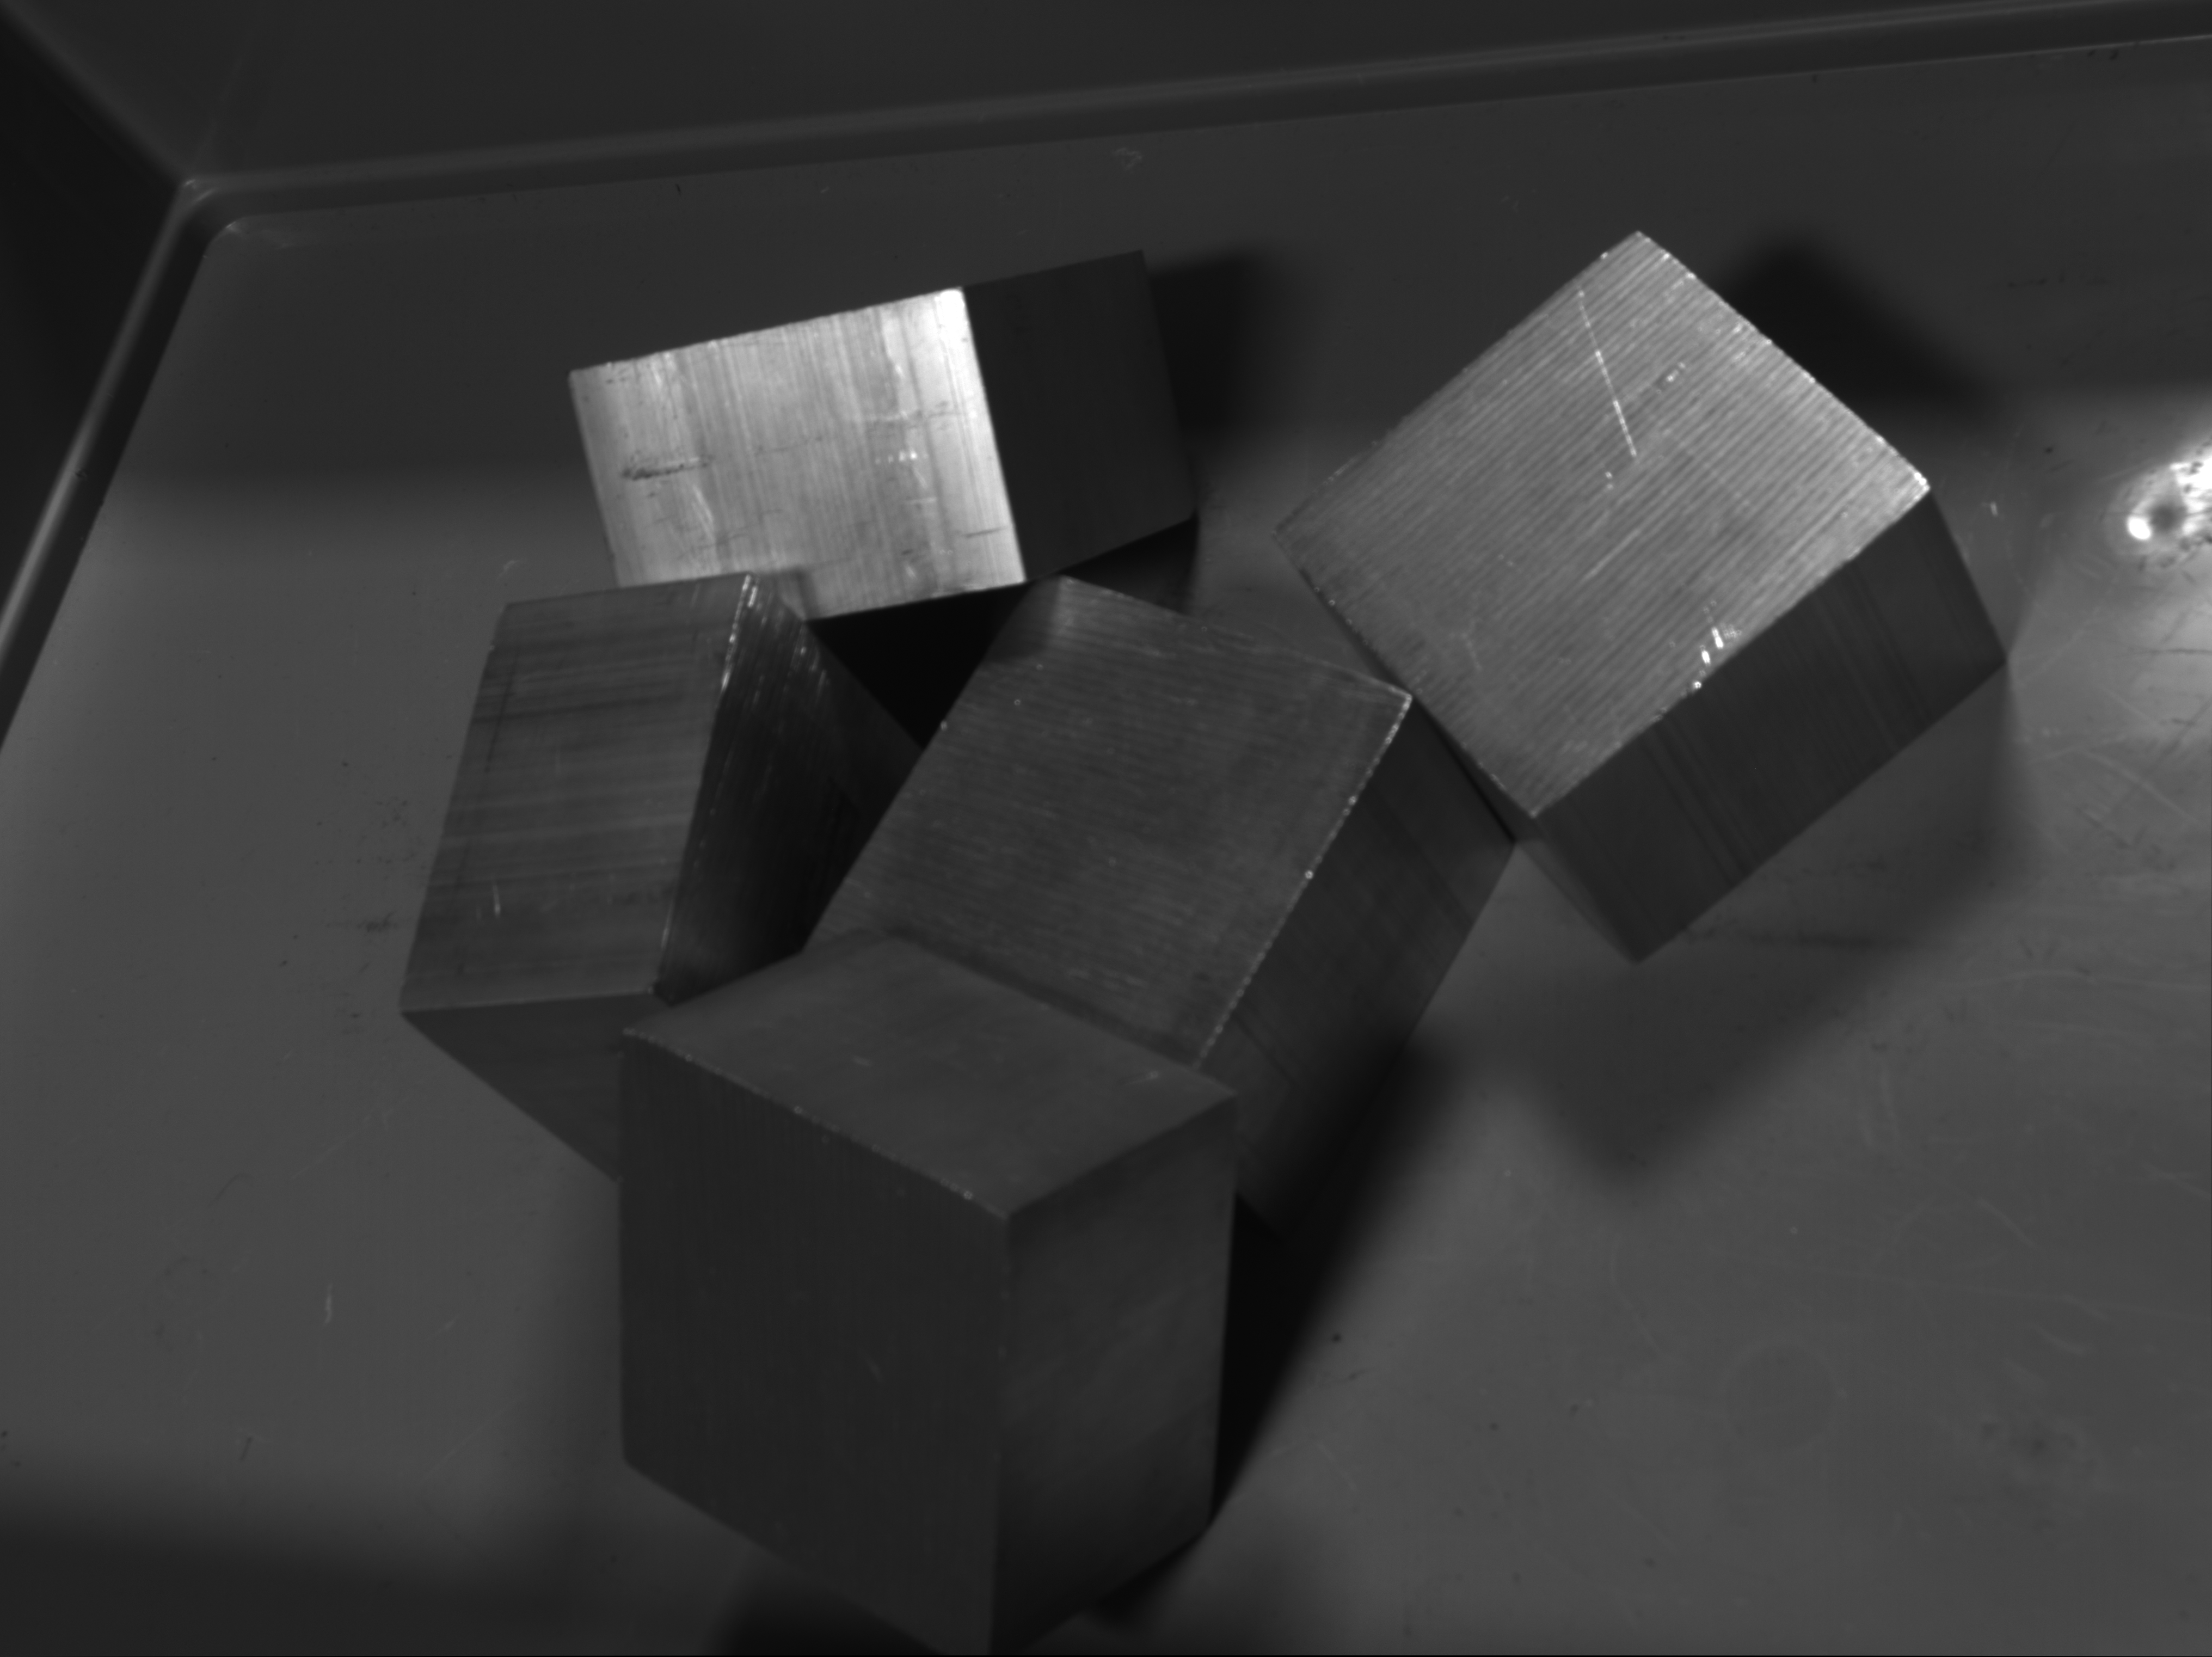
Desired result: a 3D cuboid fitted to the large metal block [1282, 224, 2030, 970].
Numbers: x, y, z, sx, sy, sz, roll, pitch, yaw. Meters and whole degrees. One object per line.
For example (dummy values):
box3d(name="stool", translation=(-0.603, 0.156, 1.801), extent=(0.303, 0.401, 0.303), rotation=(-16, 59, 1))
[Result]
box3d(name="large metal block", translation=(0.090, -0.039, 0.602), extent=(0.080, 0.050, 0.080), rotation=(-39, 51, 1))

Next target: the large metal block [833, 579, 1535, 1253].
box3d(name="large metal block", translation=(0.012, 0.013, 0.613), extent=(0.080, 0.050, 0.080), rotation=(21, 73, 36))

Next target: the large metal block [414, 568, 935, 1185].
box3d(name="large metal block", translation=(-0.068, 0.013, 0.637), extent=(0.050, 0.080, 0.080), rotation=(-5, 59, 26))

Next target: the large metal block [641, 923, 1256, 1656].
box3d(name="large metal block", translation=(-0.026, 0.071, 0.569), extent=(0.080, 0.080, 0.050), rotation=(22, 31, 35))

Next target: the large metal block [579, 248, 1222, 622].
box3d(name="large metal block", translation=(-0.035, -0.069, 0.662), extent=(0.080, 0.080, 0.050), rotation=(-8, 100, 25))
